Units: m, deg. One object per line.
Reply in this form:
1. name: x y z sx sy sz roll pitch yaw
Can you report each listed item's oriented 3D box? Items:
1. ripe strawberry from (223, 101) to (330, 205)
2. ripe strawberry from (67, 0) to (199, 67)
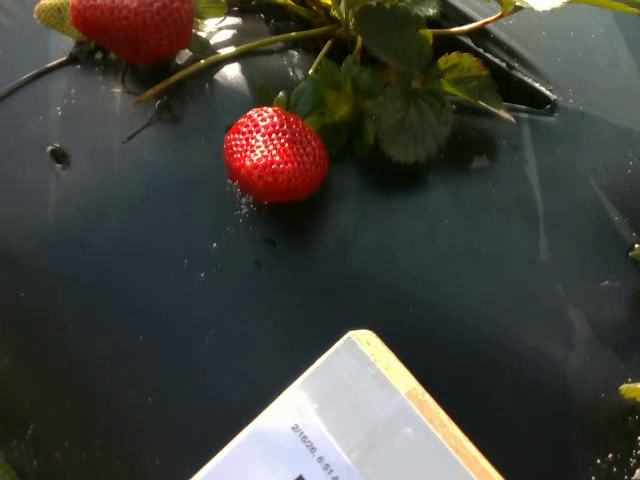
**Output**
1. ripe strawberry: -0.013 -0.024 0.170 0.037 0.034 0.039 -36 -1 27
2. ripe strawberry: -0.057 -0.073 0.194 0.035 0.041 0.036 36 33 28
